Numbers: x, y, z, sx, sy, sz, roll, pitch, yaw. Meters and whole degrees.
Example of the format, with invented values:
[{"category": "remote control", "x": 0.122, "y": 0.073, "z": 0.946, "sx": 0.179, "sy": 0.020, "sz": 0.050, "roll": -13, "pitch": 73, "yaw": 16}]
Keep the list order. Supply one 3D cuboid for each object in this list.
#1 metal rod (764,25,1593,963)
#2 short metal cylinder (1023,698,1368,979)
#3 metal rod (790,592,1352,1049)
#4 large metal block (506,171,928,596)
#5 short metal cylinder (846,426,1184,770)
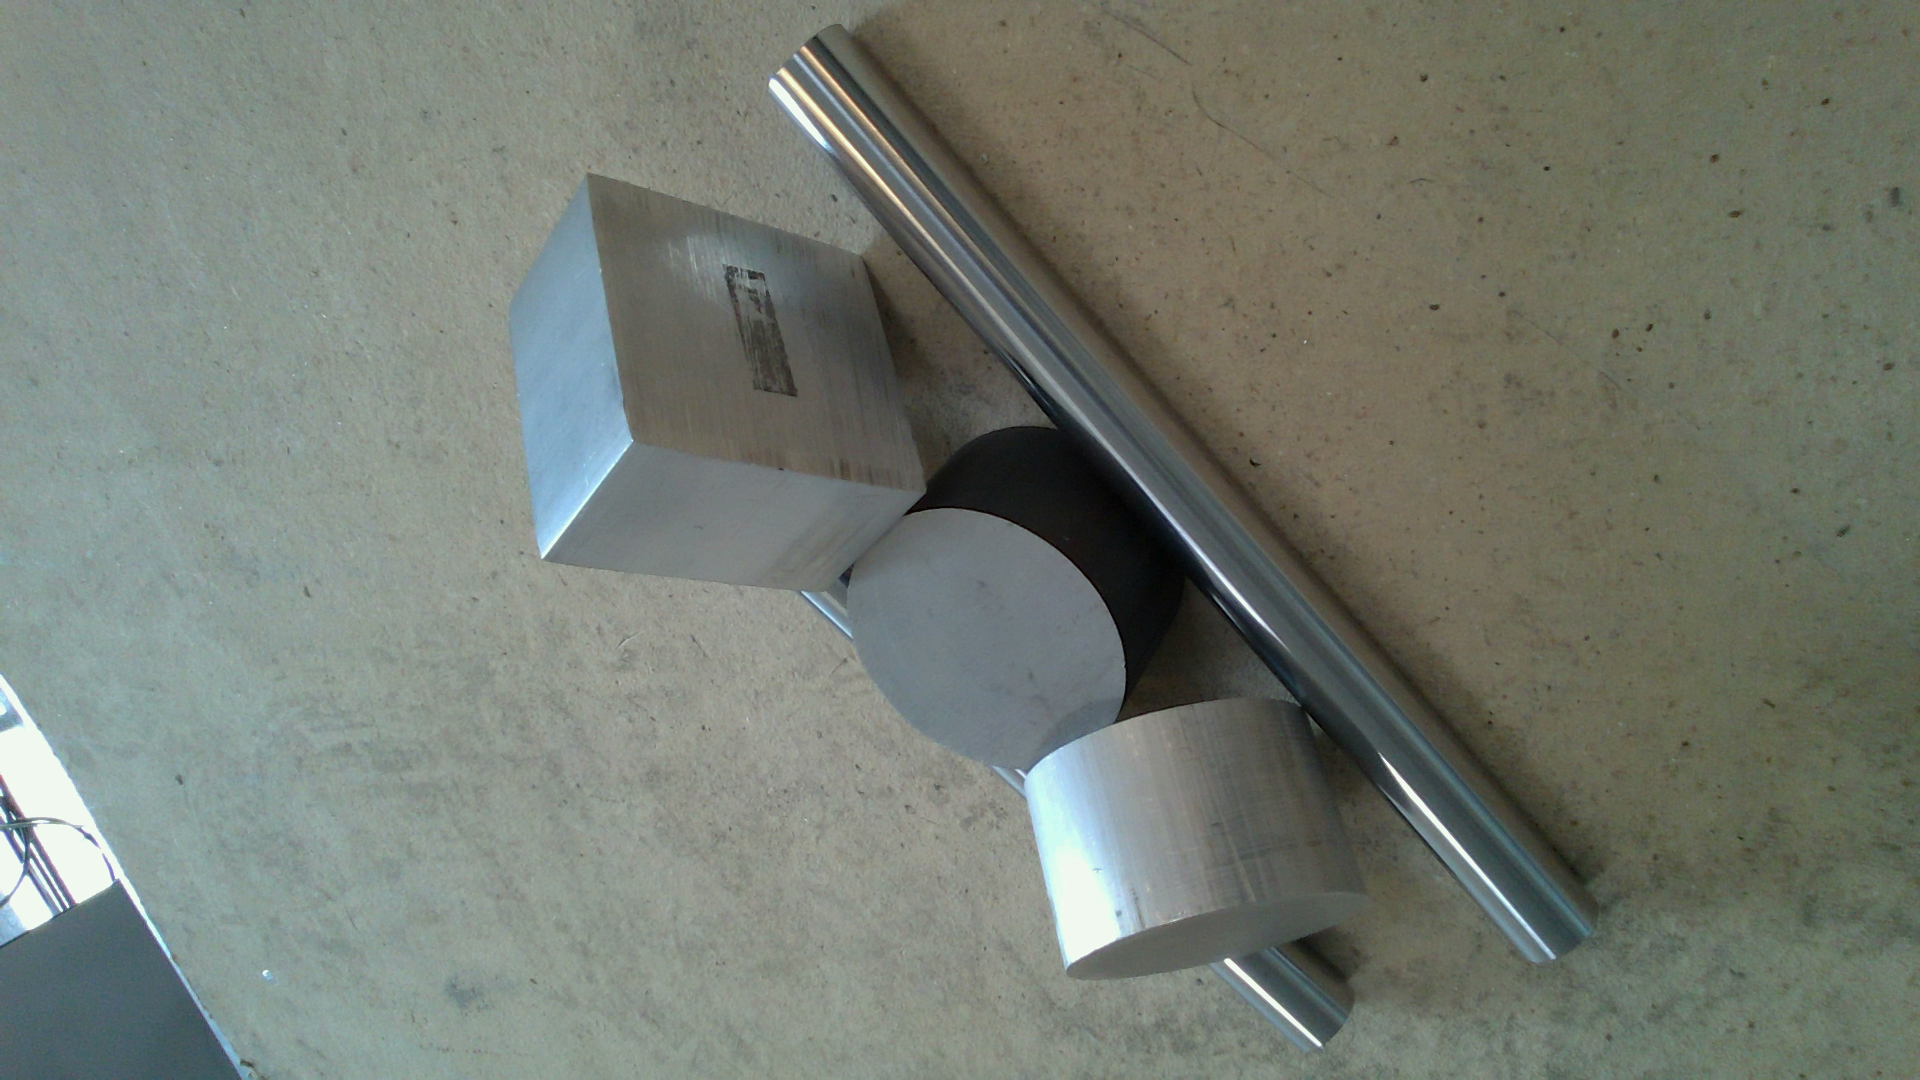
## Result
[{"category": "metal rod", "x": 0.060, "y": -0.007, "z": 0.356, "sx": 0.300, "sy": 0.025, "sz": 0.025, "roll": 48, "pitch": 129, "yaw": -6}, {"category": "short metal cylinder", "x": 0.061, "y": 0.081, "z": 0.367, "sx": 0.080, "sy": 0.080, "sz": 0.050, "roll": -36, "pitch": 56, "yaw": 39}, {"category": "metal rod", "x": 0.000, "y": 0.046, "z": 0.421, "sx": 0.300, "sy": 0.025, "sz": 0.025, "roll": 42, "pitch": 129, "yaw": -1}, {"category": "large metal block", "x": -0.063, "y": -0.037, "z": 0.349, "sx": 0.050, "sy": 0.080, "sz": 0.080, "roll": -42, "pitch": 52, "yaw": 39}, {"category": "short metal cylinder", "x": 0.016, "y": 0.016, "z": 0.378, "sx": 0.080, "sy": 0.050, "sz": 0.080, "roll": 13, "pitch": 124, "yaw": 21}]
